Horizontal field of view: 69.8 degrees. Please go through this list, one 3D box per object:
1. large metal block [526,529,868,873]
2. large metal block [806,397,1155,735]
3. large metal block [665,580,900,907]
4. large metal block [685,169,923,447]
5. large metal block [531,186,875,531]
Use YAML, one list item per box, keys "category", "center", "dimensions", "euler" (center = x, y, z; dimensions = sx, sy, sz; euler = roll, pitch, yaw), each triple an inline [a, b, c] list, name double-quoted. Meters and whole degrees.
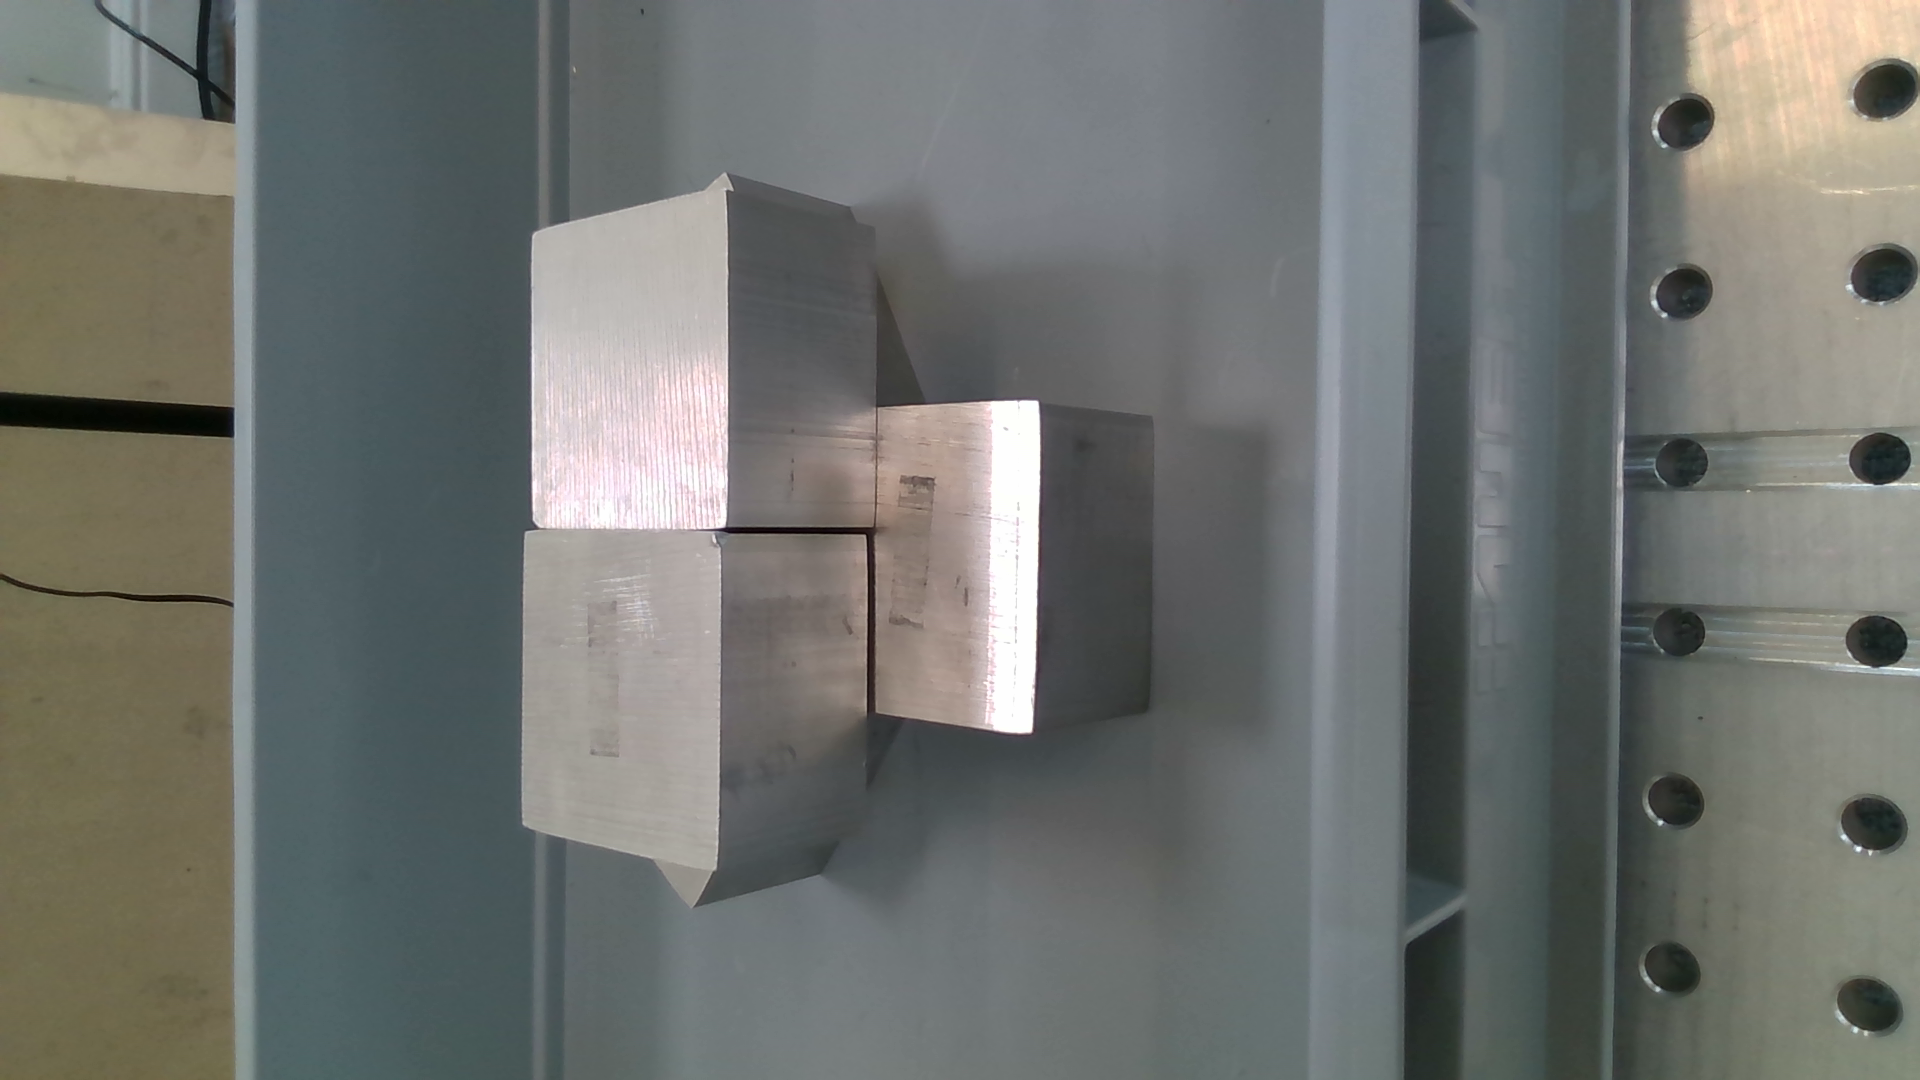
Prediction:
- category: "large metal block"
  center: [-0.071, 0.037, 0.366]
  dimensions: [0.080, 0.050, 0.080]
  euler: [1, 91, 40]
- category: "large metal block"
  center: [0.004, 0.005, 0.370]
  dimensions: [0.080, 0.050, 0.080]
  euler: [2, 92, 40]
- category: "large metal block"
  center: [-0.070, 0.053, 0.431]
  dimensions: [0.080, 0.050, 0.080]
  euler: [42, 115, 32]
- category: "large metal block"
  center: [-0.065, -0.053, 0.428]
  dimensions: [0.080, 0.050, 0.080]
  euler: [-33, 70, 36]
- category: "large metal block"
  center: [-0.069, -0.043, 0.365]
  dimensions: [0.080, 0.050, 0.080]
  euler: [1, 91, 40]
